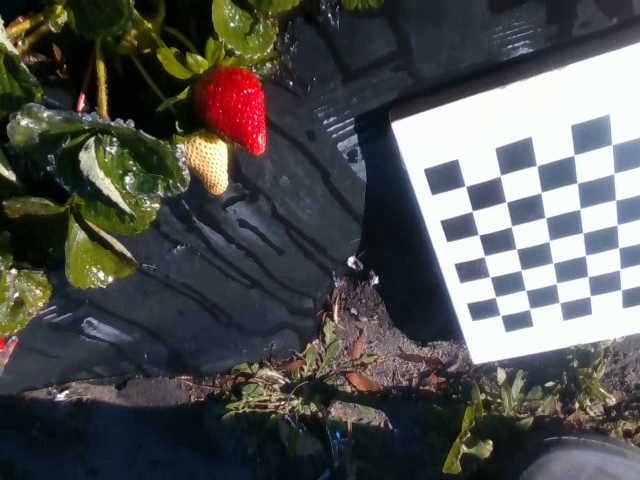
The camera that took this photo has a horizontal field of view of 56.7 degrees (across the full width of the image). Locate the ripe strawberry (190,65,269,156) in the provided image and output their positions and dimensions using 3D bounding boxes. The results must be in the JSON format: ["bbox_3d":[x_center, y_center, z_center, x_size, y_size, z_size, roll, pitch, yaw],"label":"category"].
[{"bbox_3d":[-0.047,-0.076,0.358,0.042,0.061,0.046,-27,-6,24],"label":"ripe strawberry"}]
